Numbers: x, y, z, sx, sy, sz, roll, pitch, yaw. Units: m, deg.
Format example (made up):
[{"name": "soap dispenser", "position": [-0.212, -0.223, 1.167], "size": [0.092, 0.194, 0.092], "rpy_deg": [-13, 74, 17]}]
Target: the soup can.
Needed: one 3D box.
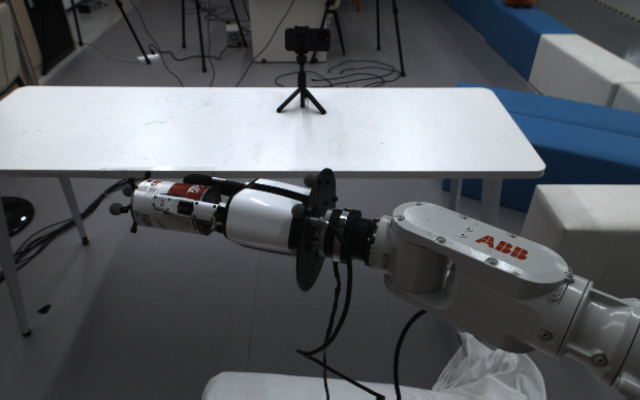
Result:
[{"name": "soup can", "position": [-0.194, 0.010, 0.660], "size": [0.101, 0.067, 0.067], "rpy_deg": [6, 35, 12]}]
